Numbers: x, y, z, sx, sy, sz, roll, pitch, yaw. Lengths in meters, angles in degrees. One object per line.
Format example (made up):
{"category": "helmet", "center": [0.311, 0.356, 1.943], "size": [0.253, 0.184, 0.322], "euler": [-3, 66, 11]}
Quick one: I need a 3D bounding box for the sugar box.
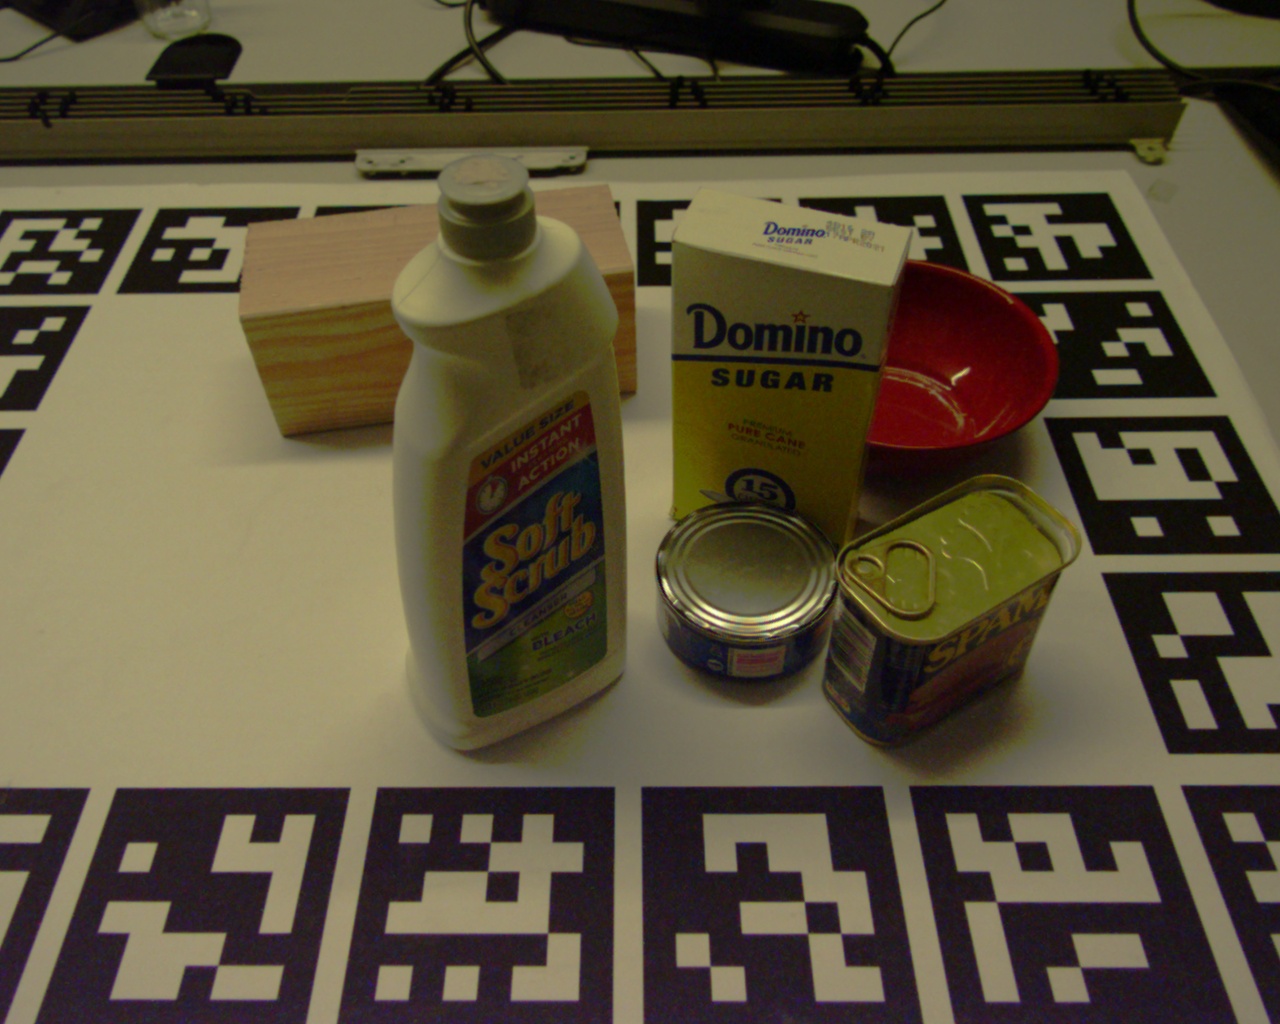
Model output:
{"category": "sugar box", "center": [0.066, -0.058, 0.552], "size": [0.094, 0.175, 0.045], "euler": [13, 51, 17]}

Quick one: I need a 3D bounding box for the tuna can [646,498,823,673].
{"category": "tuna can", "center": [0.046, 0.036, 0.562], "size": [0.086, 0.033, 0.086], "euler": [-2, 50, 1]}

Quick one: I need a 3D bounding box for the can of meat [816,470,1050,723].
{"category": "can of meat", "center": [0.132, 0.040, 0.530], "size": [0.101, 0.083, 0.058], "euler": [-24, 48, -21]}

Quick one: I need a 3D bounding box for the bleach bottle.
{"category": "bleach bottle", "center": [-0.055, -0.015, 0.472], "size": [0.102, 0.249, 0.068], "euler": [-21, 49, -17]}

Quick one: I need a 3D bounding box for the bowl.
{"category": "bowl", "center": [0.144, -0.077, 0.653], "size": [0.162, 0.055, 0.162], "euler": [-4, 47, 3]}

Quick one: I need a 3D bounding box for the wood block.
{"category": "wood block", "center": [-0.116, -0.114, 0.679], "size": [0.205, 0.089, 0.091], "euler": [-8, 52, -6]}
